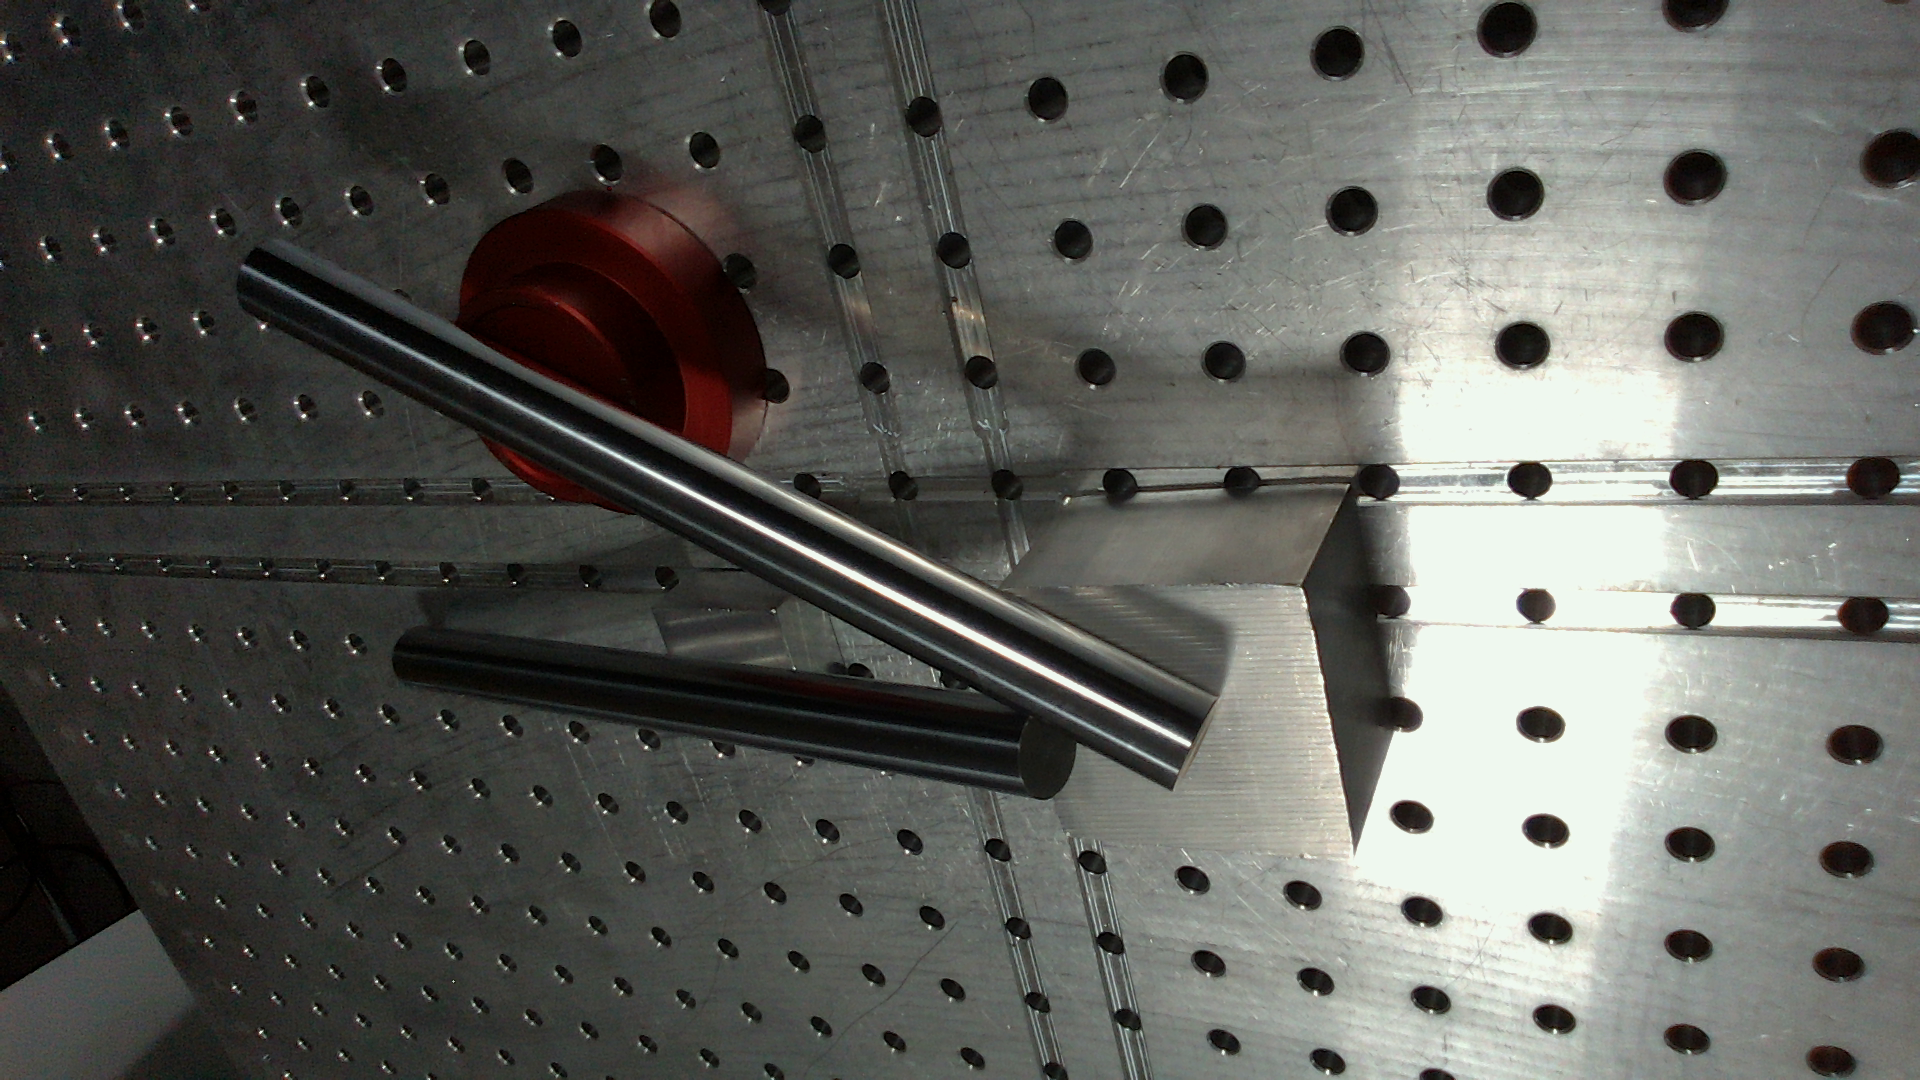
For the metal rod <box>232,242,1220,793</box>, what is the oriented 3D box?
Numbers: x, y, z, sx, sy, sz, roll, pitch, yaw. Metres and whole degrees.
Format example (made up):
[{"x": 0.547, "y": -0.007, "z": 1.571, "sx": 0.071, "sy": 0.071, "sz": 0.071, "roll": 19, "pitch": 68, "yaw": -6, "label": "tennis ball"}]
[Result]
[{"x": -0.074, "y": -0.014, "z": 0.365, "sx": 0.299, "sy": 0.025, "sz": 0.025, "roll": 26, "pitch": 128, "yaw": 16, "label": "metal rod"}]

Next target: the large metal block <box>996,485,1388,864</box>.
[{"x": 0.063, "y": 0.034, "z": 0.364, "sx": 0.080, "sy": 0.050, "sz": 0.080, "roll": -2, "pitch": 118, "yaw": 29, "label": "large metal block"}]

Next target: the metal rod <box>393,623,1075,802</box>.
[{"x": -0.094, "y": 0.049, "z": 0.441, "sx": 0.299, "sy": 0.025, "sz": 0.025, "roll": 2, "pitch": 120, "yaw": 39, "label": "metal rod"}]

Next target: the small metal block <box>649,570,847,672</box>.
[{"x": -0.068, "y": 0.038, "z": 0.456, "sx": 0.050, "sy": 0.025, "sz": 0.050, "roll": 0, "pitch": 118, "yaw": 29, "label": "small metal block"}]

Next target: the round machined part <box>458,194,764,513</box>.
[{"x": -0.112, "y": -0.050, "z": 0.413, "sx": 0.098, "sy": 0.042, "sz": 0.098, "roll": 13, "pitch": 124, "yaw": 21, "label": "round machined part"}]
